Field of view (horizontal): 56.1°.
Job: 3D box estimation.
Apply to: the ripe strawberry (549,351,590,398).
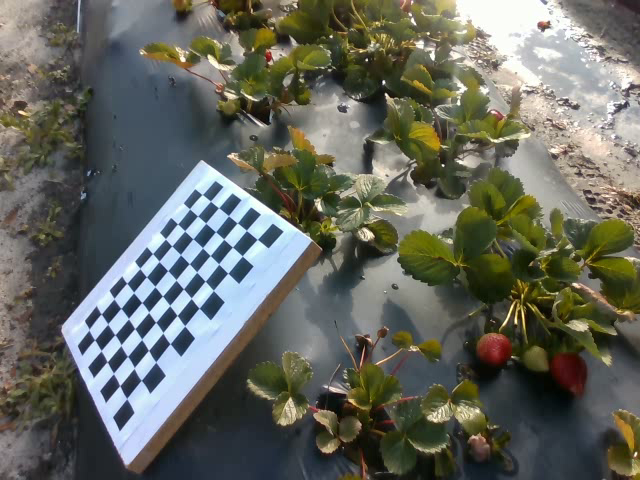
[{"bbox_3d":[0.306,0.163,0.733,0.048,0.065,0.050,-21,-46,26],"label":"ripe strawberry"}]
